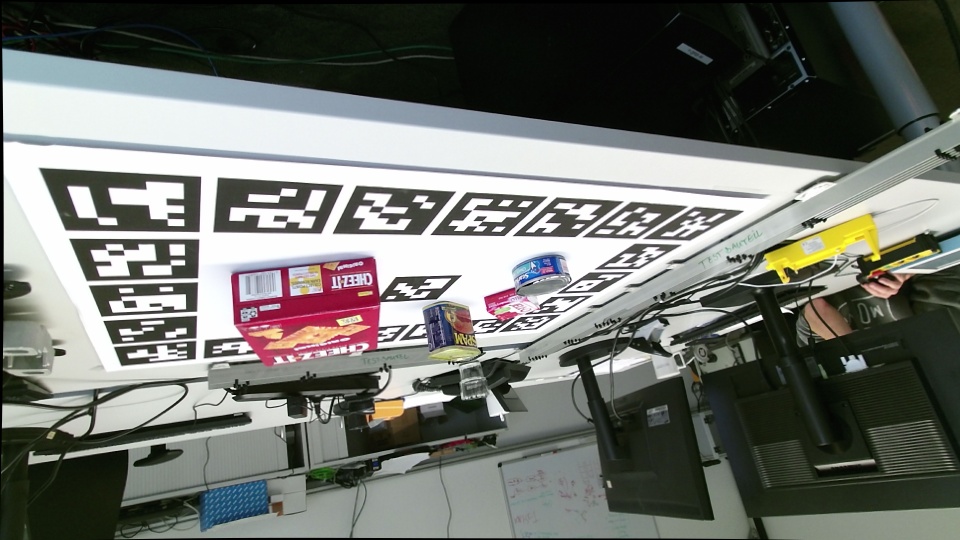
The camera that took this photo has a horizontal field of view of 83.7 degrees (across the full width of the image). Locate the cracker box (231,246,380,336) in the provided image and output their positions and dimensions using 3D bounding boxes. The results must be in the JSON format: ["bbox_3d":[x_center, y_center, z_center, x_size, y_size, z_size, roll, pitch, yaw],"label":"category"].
[{"bbox_3d":[-0.220,0.045,0.719,0.165,0.071,0.214,-6,159,-13],"label":"cracker box"}]

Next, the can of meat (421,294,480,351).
[{"bbox_3d":[-0.053,0.091,0.919,0.058,0.083,0.102,-23,158,27],"label":"can of meat"}]

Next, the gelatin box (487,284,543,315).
[{"bbox_3d":[0.063,0.054,0.943,0.073,0.030,0.089,-16,156,17],"label":"gelatin box"}]

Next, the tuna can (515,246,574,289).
[{"bbox_3d":[0.097,-0.002,0.811,0.086,0.033,0.086,-13,156,-6],"label":"tuna can"}]
